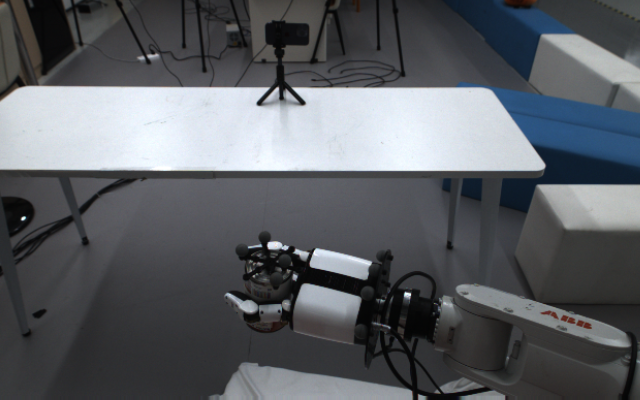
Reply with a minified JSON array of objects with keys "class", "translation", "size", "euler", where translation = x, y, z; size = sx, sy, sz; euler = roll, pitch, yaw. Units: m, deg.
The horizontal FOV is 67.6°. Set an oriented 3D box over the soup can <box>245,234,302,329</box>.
[{"class":"soup can","translation":[-0.071,0.129,0.678],"size":[0.067,0.101,0.067],"euler":[5,37,-3]}]
